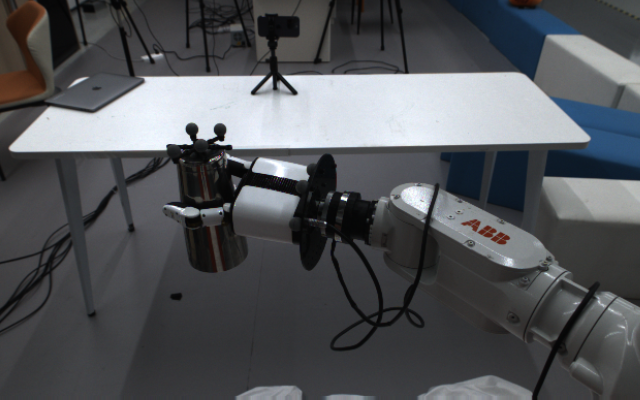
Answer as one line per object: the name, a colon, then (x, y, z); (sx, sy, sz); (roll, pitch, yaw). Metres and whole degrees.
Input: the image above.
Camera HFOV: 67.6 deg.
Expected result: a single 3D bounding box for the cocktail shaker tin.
cocktail shaker tin: (-0.155, 0.008, 0.692); (0.093, 0.170, 0.093); (-2, 32, 1)
